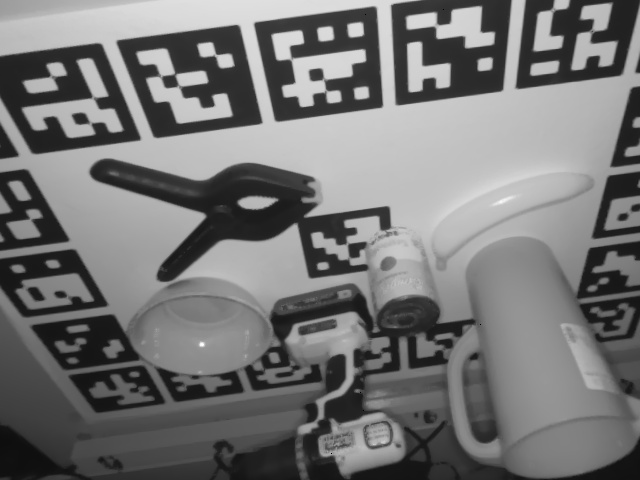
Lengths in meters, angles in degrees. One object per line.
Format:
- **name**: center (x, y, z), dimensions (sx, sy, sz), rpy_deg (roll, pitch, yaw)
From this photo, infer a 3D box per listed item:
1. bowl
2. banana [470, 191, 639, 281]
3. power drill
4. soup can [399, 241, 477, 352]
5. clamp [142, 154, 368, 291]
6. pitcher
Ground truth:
- **bowl**: center (-0.100, 0.098, 0.786), dimensions (0.162, 0.055, 0.160), rpy_deg (-4, 132, -4)
- **banana**: center (0.242, -0.012, 0.744), dimensions (0.195, 0.039, 0.074), rpy_deg (-24, 139, 17)
- **power drill**: center (0.020, 0.185, 0.767), dimensions (0.184, 0.188, 0.057), rpy_deg (-9, 133, 3)
- **soup can**: center (0.125, 0.060, 0.750), dimensions (0.068, 0.102, 0.067), rpy_deg (-5, 141, -3)
- **clamp**: center (-0.053, -0.024, 0.683), dimensions (0.203, 0.037, 0.164), rpy_deg (-8, 129, 0)
- **pitcher**: center (0.255, 0.141, 0.744), dimensions (0.187, 0.244, 0.133), rpy_deg (-24, 134, 16)
